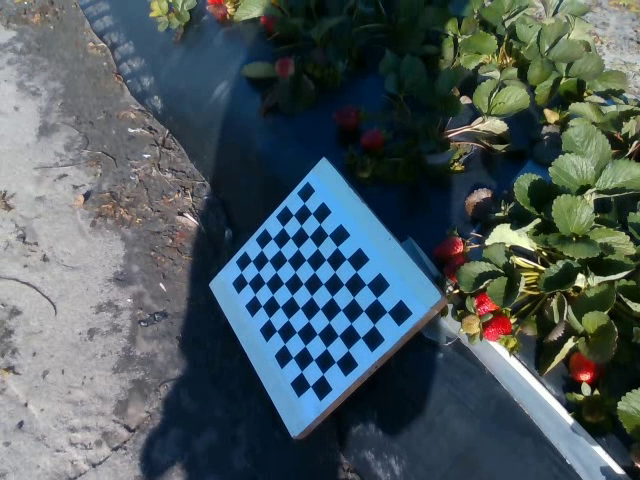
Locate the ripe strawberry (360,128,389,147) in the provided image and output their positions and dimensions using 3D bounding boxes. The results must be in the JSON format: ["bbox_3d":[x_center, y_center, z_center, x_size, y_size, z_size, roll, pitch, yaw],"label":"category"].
[{"bbox_3d":[0.081,-0.155,0.982,0.042,0.039,0.049,-2,11,38],"label":"ripe strawberry"}]

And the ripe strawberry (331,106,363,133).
[{"bbox_3d":[0.041,-0.202,1.021,0.050,0.051,0.045,2,-33,-35],"label":"ripe strawberry"}]
